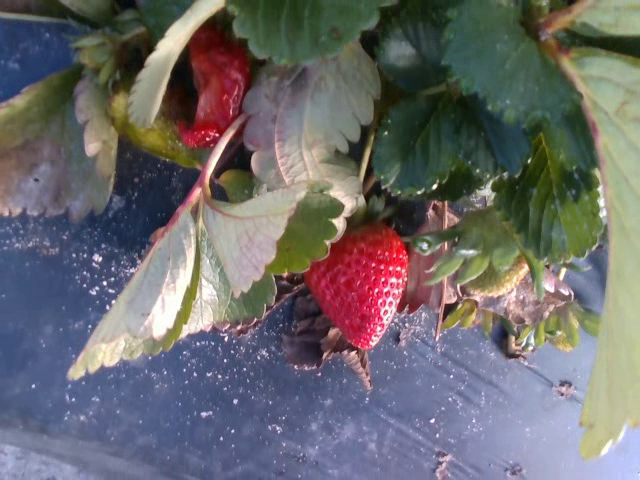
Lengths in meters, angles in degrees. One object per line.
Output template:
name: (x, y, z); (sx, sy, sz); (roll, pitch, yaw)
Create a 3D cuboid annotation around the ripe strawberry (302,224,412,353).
ripe strawberry: (0.008, 0.012, 0.146); (0.032, 0.030, 0.025); (-5, 3, 2)
